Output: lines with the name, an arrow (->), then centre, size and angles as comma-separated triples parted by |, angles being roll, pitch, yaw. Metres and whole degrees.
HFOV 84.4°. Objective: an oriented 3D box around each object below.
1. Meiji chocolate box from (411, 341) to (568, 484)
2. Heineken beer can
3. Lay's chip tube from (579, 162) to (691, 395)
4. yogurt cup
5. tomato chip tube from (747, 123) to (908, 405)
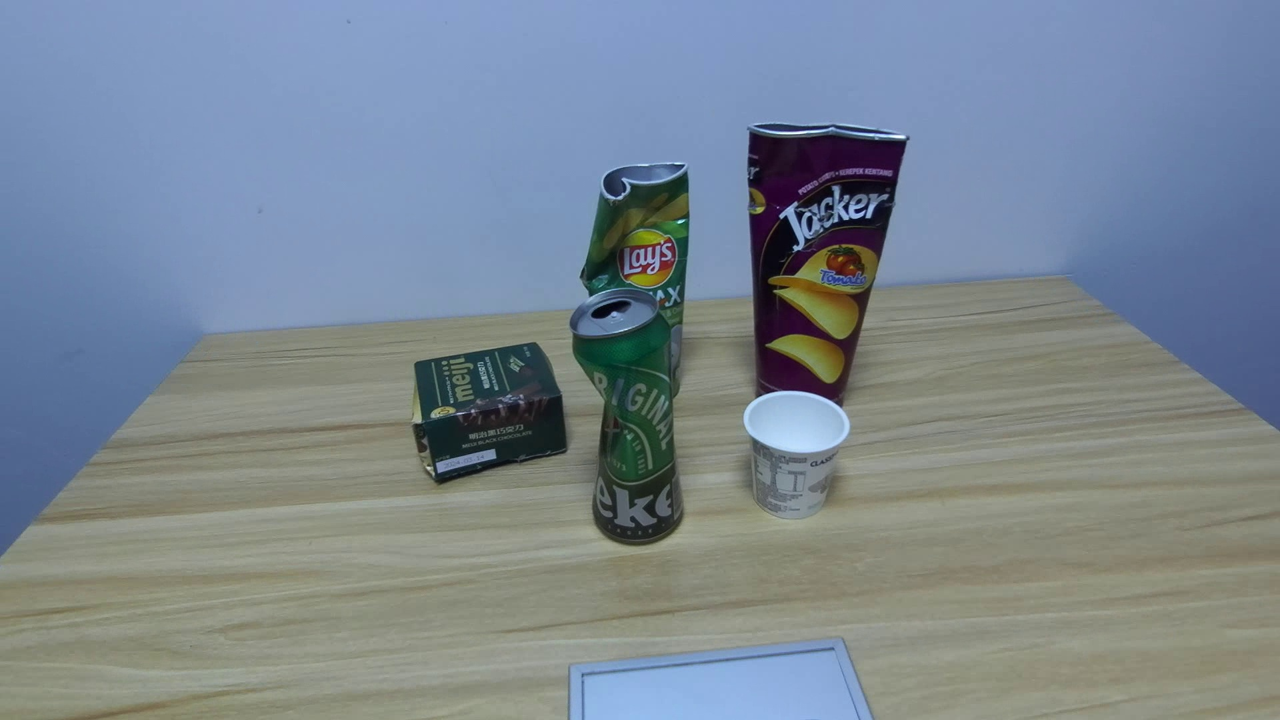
Meiji chocolate box -> -0.127, 0.038, 0.592 | 0.123, 0.058, 0.115 | -12, 31, -15
Heineken beer can -> -0.008, 0.041, 0.464 | 0.069, 0.168, 0.068 | 15, 38, 32
Lay's chip tube -> -0.001, -0.060, 0.591 | 0.069, 0.201, 0.077 | 11, 38, 19
yogurt cup -> 0.108, 0.069, 0.501 | 0.072, 0.068, 0.072 | -2, 33, 2
tomato chip tube -> 0.133, -0.065, 0.559 | 0.078, 0.236, 0.089 | -15, 36, -18
